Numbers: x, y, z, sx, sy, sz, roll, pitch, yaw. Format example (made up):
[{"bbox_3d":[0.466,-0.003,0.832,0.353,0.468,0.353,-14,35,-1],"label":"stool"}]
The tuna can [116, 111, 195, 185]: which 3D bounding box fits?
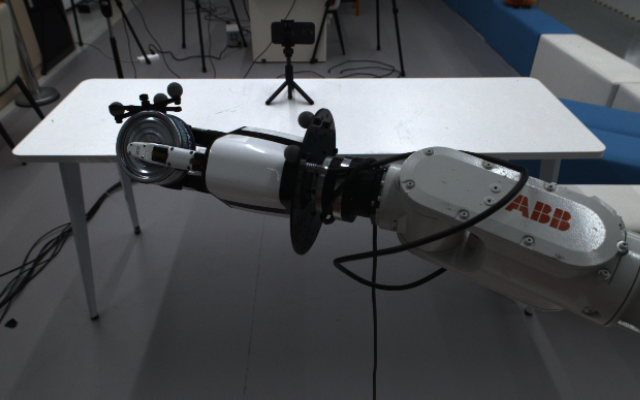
[{"bbox_3d":[-0.187,-0.054,0.559,0.085,0.085,0.034,12,3,14],"label":"tuna can"}]
